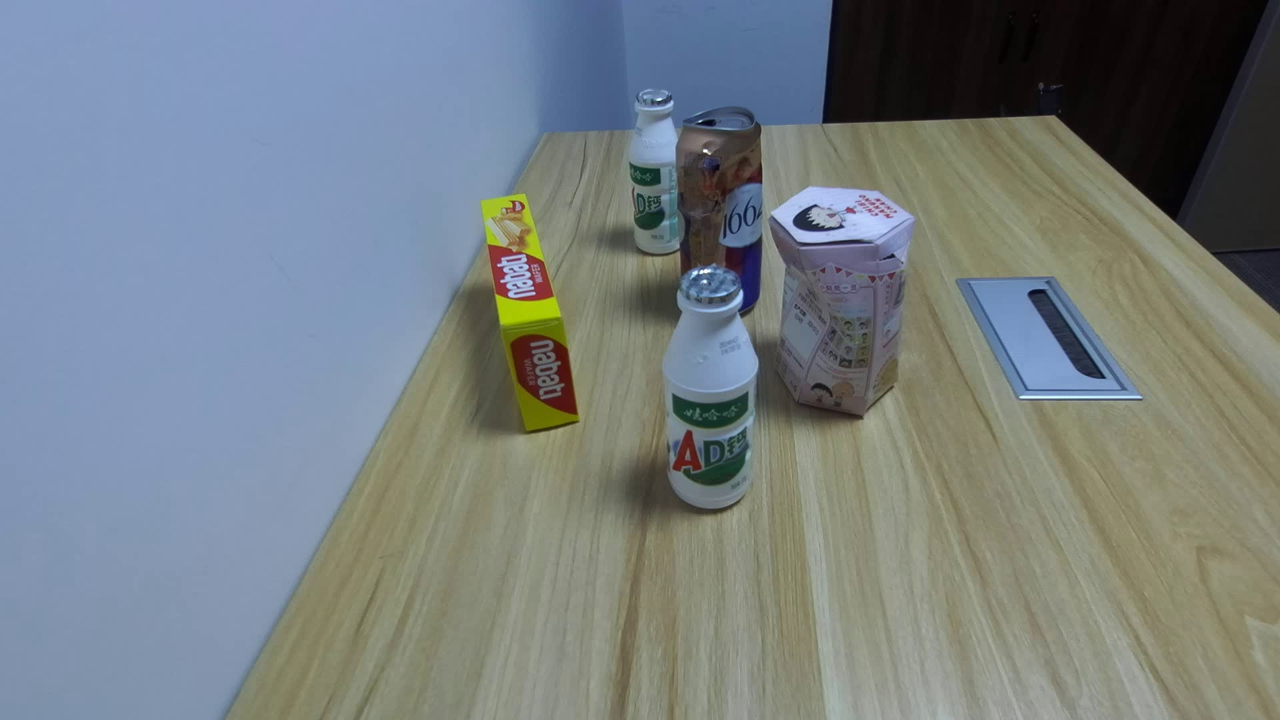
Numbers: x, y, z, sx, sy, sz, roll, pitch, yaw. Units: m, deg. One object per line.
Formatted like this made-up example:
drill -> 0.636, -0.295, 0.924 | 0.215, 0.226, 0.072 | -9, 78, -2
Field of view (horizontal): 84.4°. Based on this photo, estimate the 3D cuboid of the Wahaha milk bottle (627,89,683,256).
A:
Wahaha milk bottle -> 0.017, -0.172, 0.654 | 0.056, 0.148, 0.056 | -2, 35, 2

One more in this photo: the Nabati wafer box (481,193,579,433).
Nabati wafer box -> -0.087, -0.045, 0.546 | 0.042, 0.093, 0.202 | -12, 38, -9

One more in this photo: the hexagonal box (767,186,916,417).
hexagonal box -> 0.132, -0.037, 0.478 | 0.090, 0.135, 0.091 | 11, 40, 24

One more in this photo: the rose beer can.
rose beer can -> 0.065, -0.112, 0.561 | 0.068, 0.162, 0.073 | -2, 36, 5

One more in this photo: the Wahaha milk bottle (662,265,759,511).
Wahaha milk bottle -> 0.040, 0.019, 0.400 | 0.053, 0.147, 0.053 | -3, 38, 3
